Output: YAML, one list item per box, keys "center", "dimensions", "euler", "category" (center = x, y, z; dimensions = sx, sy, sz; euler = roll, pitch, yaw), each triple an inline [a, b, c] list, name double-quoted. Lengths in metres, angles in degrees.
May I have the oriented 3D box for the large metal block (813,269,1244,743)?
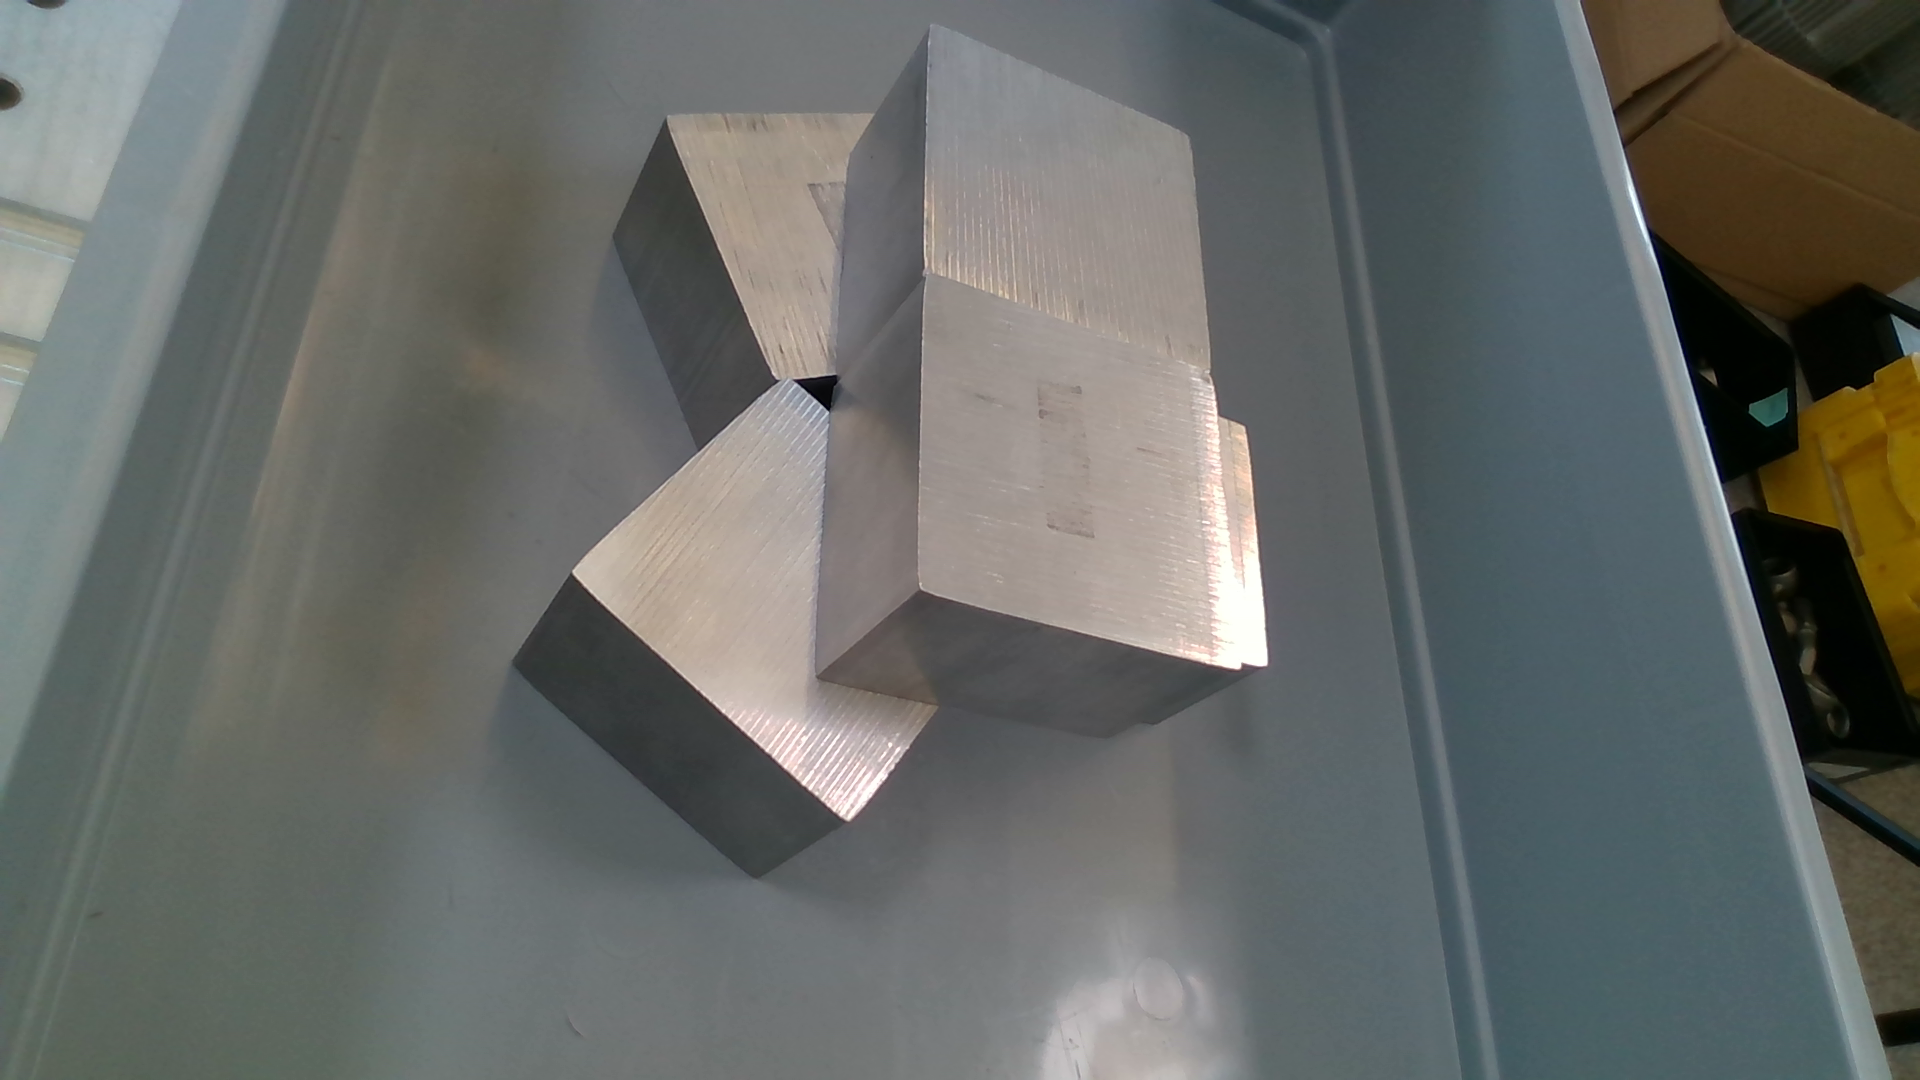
- center: [0.015, -0.005, 0.321]
  dimensions: [0.080, 0.050, 0.080]
  euler: [15, 58, -25]
  category: "large metal block"

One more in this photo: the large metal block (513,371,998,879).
- center: [-0.045, 0.020, 0.336]
  dimensions: [0.080, 0.050, 0.080]
  euler: [43, 51, -5]
  category: "large metal block"

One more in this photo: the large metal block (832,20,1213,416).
- center: [0.015, -0.075, 0.360]
  dimensions: [0.080, 0.050, 0.080]
  euler: [15, 58, -25]
  category: "large metal block"

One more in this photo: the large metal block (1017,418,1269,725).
- center: [0.038, 0.001, 0.399]
  dimensions: [0.080, 0.050, 0.080]
  euler: [16, 58, -24]
  category: "large metal block"

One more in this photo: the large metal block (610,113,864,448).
- center: [-0.041, -0.071, 0.388]
  dimensions: [0.080, 0.050, 0.080]
  euler: [-13, 73, -36]
  category: "large metal block"
